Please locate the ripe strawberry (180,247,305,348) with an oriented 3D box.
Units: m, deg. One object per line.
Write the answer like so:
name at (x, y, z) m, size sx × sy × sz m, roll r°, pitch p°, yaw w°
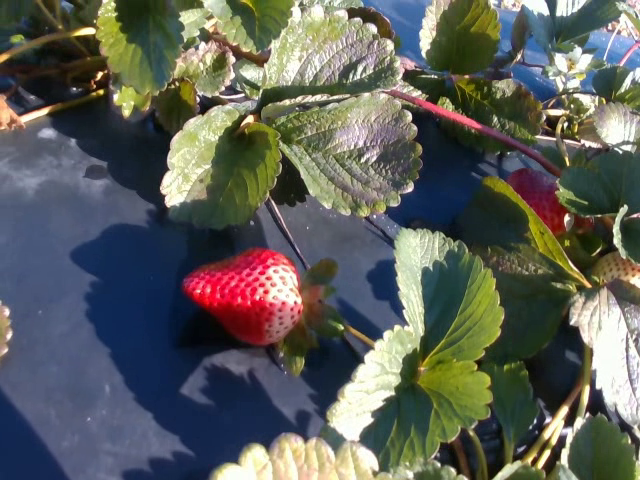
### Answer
ripe strawberry at (-0.028, 0.021, 0.225) m, size 0.056 × 0.041 × 0.045 m, roll 11°, pitch -5°, yaw -24°
